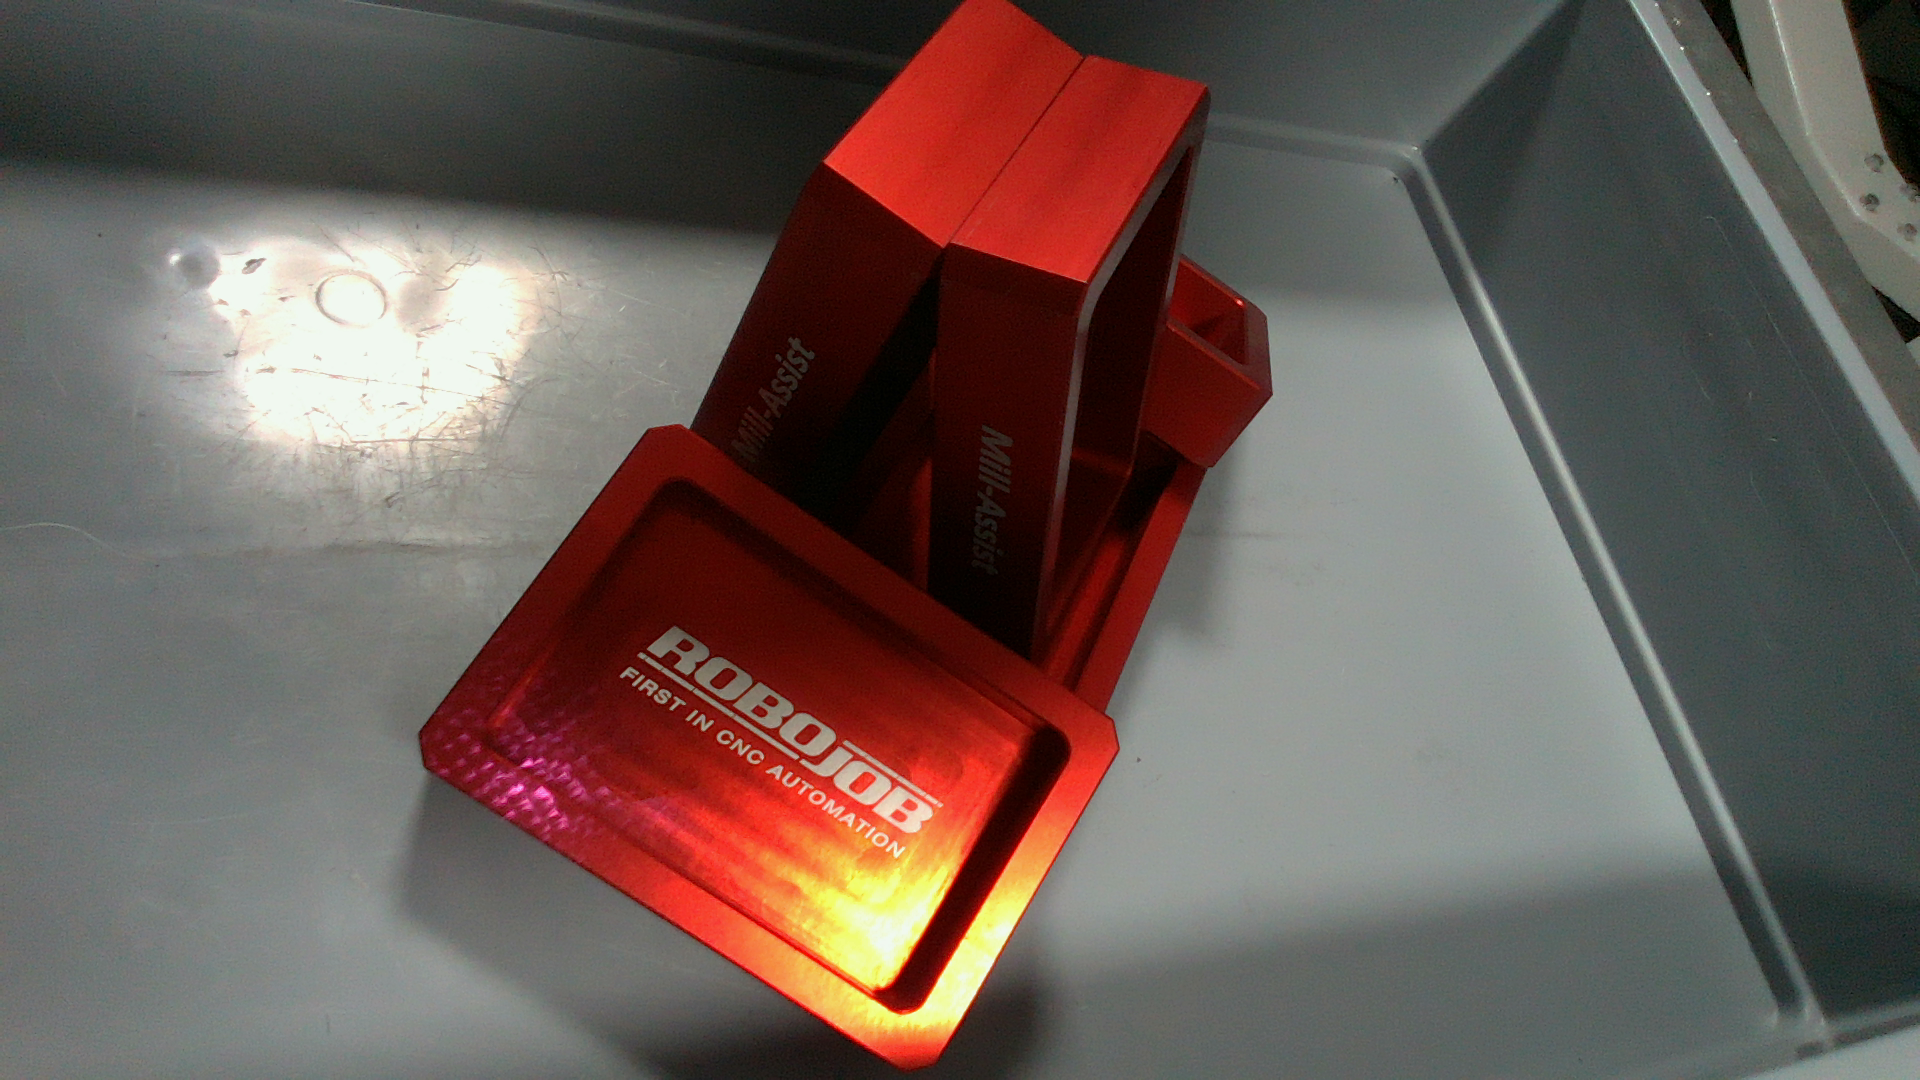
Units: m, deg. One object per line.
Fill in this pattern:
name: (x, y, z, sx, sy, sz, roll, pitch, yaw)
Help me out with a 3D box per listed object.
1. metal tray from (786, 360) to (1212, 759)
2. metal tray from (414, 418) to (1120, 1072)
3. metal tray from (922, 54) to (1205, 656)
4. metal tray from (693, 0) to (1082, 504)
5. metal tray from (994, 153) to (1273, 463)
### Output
metal tray: (0.011, 0.000, 0.391, 0.090, 0.030, 0.130, 34, 51, -6)
metal tray: (-0.041, 0.045, 0.313, 0.130, 0.030, 0.090, 35, 75, -6)
metal tray: (0.023, -0.039, 0.341, 0.030, 0.130, 0.090, 20, 50, 13)
metal tray: (-0.025, -0.063, 0.344, 0.030, 0.130, 0.090, 34, 51, -5)
metal tray: (0.037, -0.086, 0.435, 0.130, 0.030, 0.090, 34, 26, -6)
